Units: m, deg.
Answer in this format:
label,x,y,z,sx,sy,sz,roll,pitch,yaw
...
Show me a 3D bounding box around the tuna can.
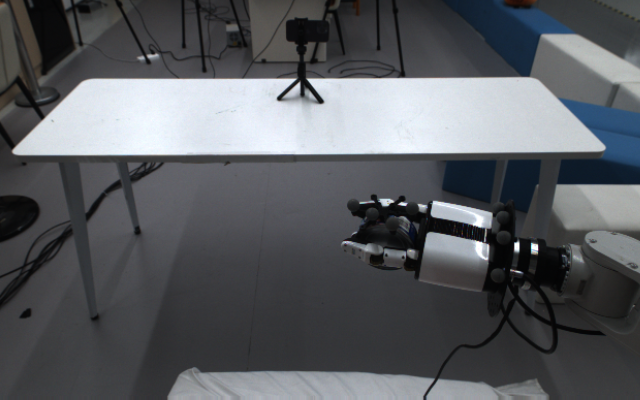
label,x,y,z,sx,sy,sz,roll,pitch,yaw
tuna can,0.095,0.055,0.678,0.085,0.085,0.034,12,39,13
